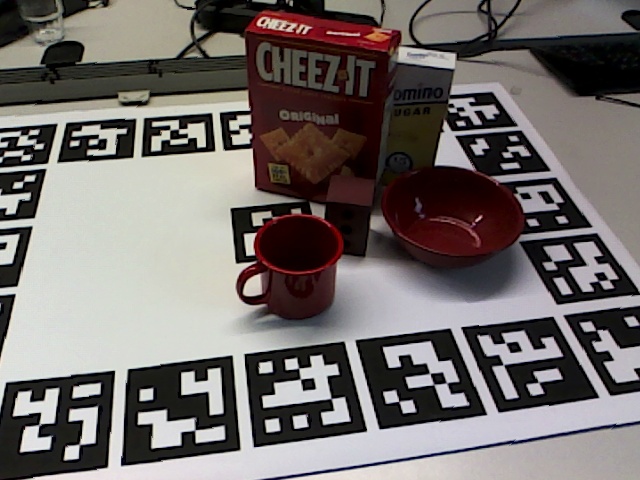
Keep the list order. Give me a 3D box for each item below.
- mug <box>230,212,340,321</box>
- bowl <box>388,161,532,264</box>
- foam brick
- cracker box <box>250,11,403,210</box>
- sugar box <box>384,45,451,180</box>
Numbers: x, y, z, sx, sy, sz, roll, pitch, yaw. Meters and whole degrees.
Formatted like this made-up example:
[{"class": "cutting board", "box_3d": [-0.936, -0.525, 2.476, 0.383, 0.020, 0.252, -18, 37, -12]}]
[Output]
[{"class": "mug", "box_3d": [-0.036, 0.032, 0.645, 0.117, 0.081, 0.094, -13, 36, -12]}, {"class": "bowl", "box_3d": [0.157, -0.023, 0.717, 0.161, 0.055, 0.162, 0, 43, -1]}, {"class": "foam brick", "box_3d": [0.031, -0.031, 0.729, 0.053, 0.078, 0.051, 5, 42, 5]}, {"class": "cracker box", "box_3d": [0.001, -0.150, 0.753, 0.165, 0.213, 0.072, 16, 42, 14]}, {"class": "sugar box", "box_3d": [0.108, -0.156, 0.787, 0.093, 0.176, 0.045, 9, 43, 9]}]
